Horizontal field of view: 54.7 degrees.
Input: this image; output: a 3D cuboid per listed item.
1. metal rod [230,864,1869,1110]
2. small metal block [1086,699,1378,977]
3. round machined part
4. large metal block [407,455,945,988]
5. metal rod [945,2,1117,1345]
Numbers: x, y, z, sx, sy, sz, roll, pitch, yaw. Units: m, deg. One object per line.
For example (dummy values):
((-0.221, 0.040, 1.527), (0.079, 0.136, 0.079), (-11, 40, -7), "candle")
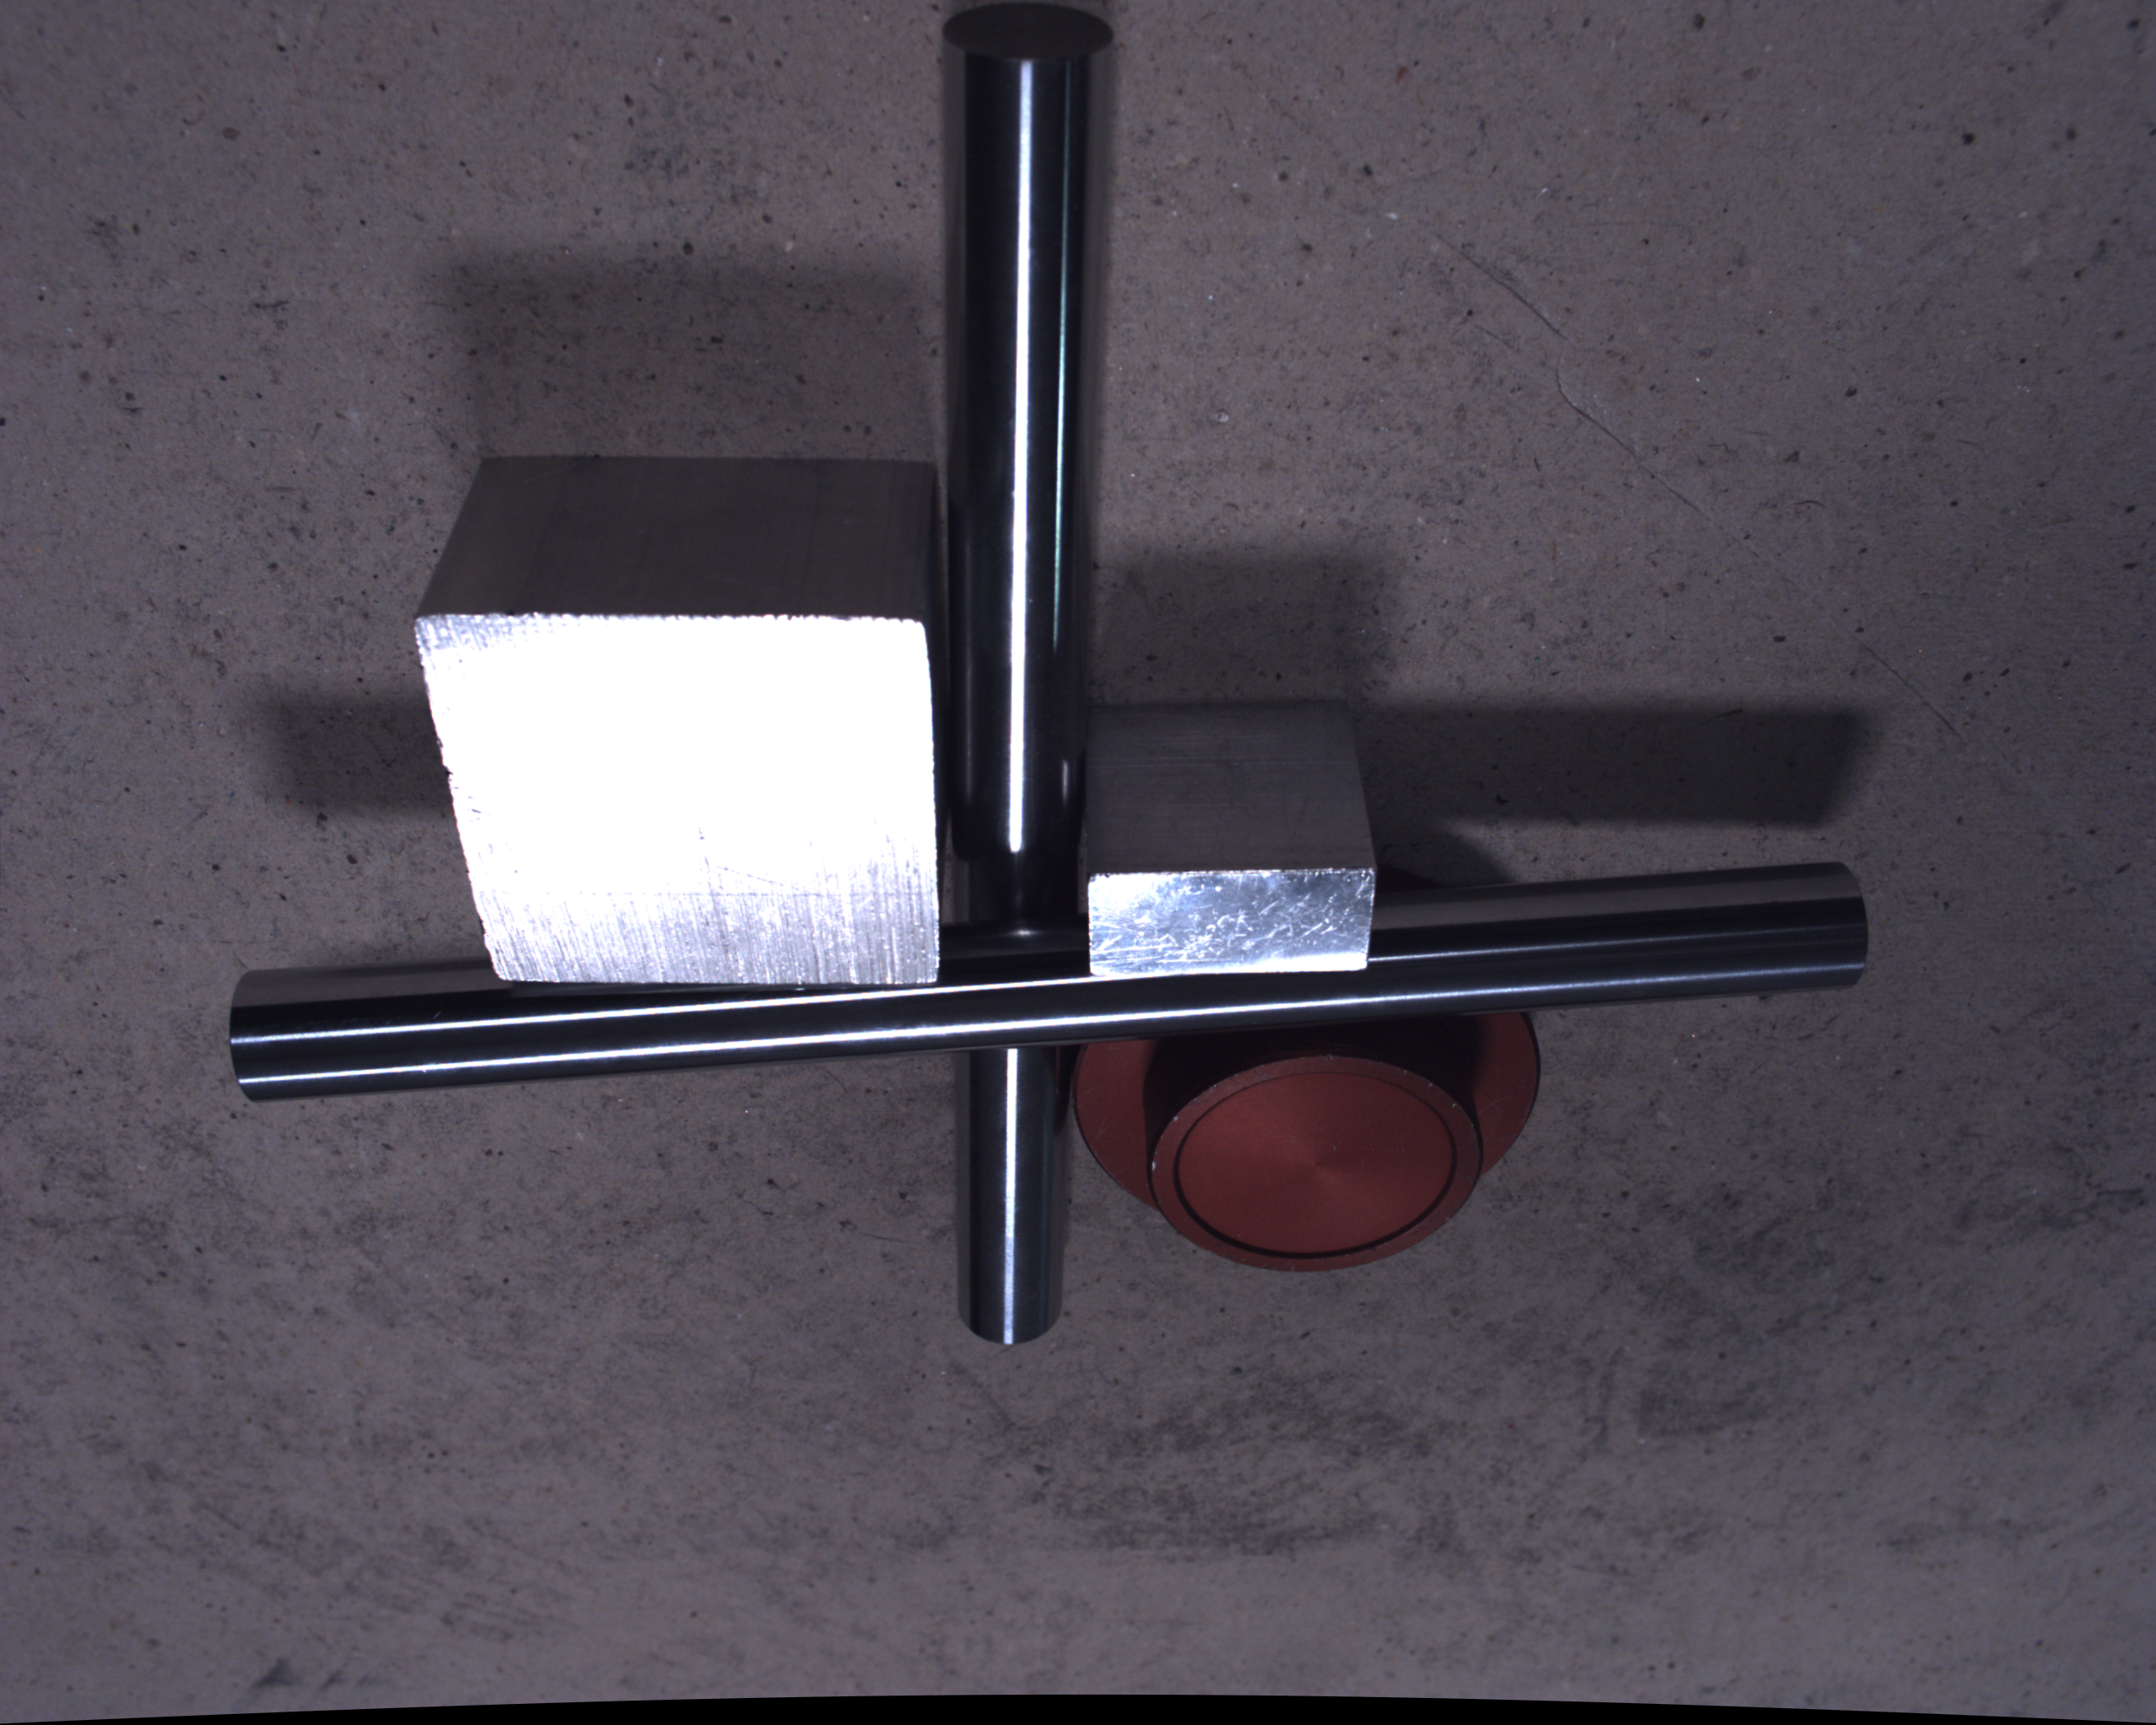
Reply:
((-0.003, 0.023, 0.396), (0.302, 0.025, 0.025), (-4, 130, -3), "metal rod")
((0.027, -0.005, 0.388), (0.050, 0.050, 0.025), (-1, 130, 0), "small metal block")
((0.048, 0.050, 0.440), (0.099, 0.042, 0.097), (-1, 130, 0), "round machined part")
((-0.065, -0.024, 0.370), (0.081, 0.050, 0.079), (1, 130, -1), "large metal block")
((-0.012, -0.008, 0.401), (0.025, 0.025, 0.298), (1, 130, -2), "metal rod")
